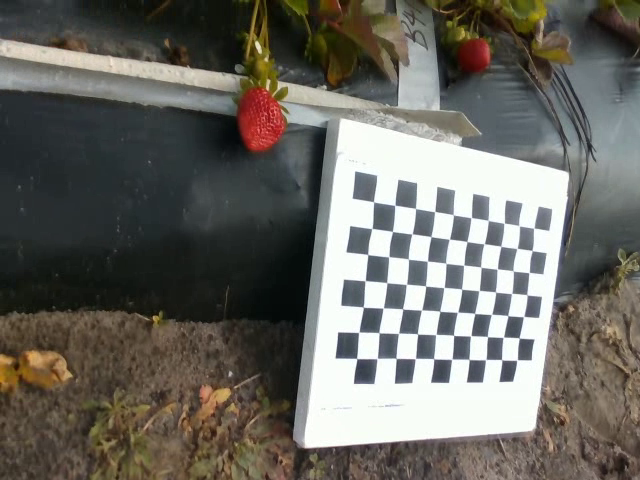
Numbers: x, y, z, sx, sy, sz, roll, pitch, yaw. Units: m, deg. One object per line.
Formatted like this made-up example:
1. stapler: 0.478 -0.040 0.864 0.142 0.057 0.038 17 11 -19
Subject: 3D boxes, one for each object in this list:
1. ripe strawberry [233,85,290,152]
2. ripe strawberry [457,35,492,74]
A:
1. ripe strawberry: -0.036 -0.081 0.500 0.030 0.048 0.053 -15 35 37
2. ripe strawberry: 0.150 -0.171 0.668 0.037 0.031 0.048 23 28 -33
